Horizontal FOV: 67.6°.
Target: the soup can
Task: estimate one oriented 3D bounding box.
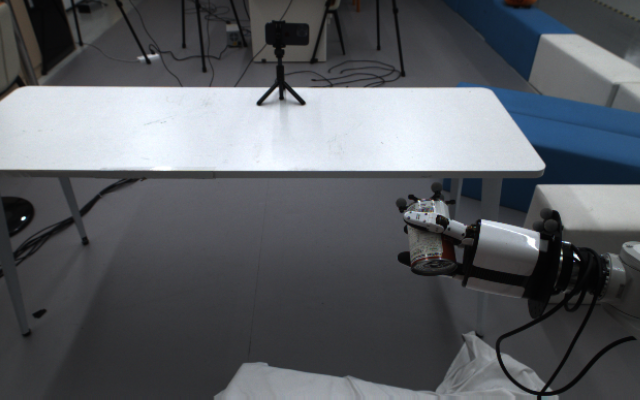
[{"bbox_3d":[0.170,0.056,0.738,0.067,0.067,0.101,1,61,-2],"label":"soup can"}]
